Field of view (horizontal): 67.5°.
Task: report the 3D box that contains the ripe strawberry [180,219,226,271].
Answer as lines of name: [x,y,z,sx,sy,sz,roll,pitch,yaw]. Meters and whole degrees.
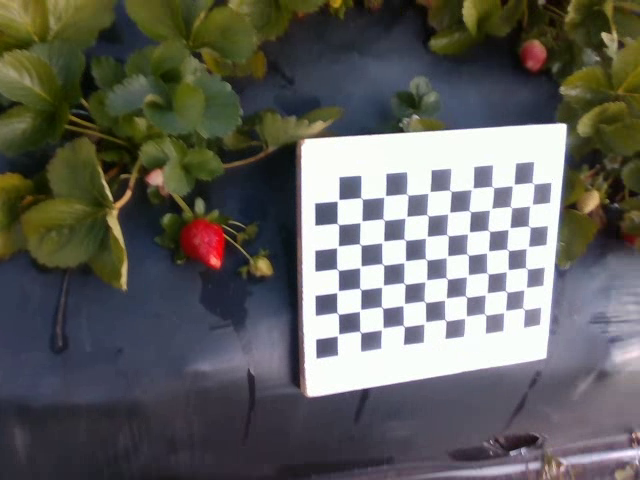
ripe strawberry: [-0.108,0.008,0.470,0.043,0.057,0.052,-29,-44,1]
